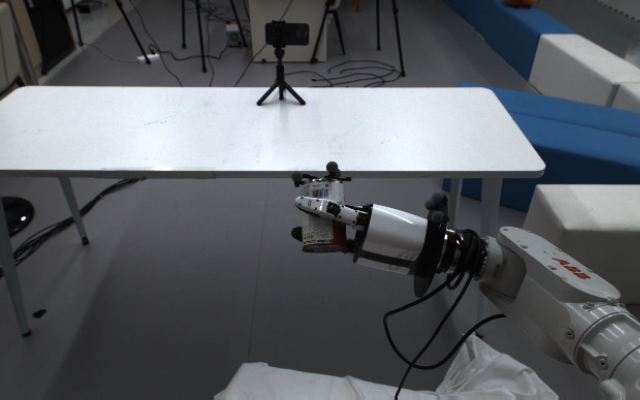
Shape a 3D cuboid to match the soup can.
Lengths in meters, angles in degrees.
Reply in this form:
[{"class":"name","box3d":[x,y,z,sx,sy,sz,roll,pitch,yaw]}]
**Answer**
[{"class":"soup can","box3d":[0.007,0.025,0.724,0.067,0.067,0.101,-2,76,-6]}]
